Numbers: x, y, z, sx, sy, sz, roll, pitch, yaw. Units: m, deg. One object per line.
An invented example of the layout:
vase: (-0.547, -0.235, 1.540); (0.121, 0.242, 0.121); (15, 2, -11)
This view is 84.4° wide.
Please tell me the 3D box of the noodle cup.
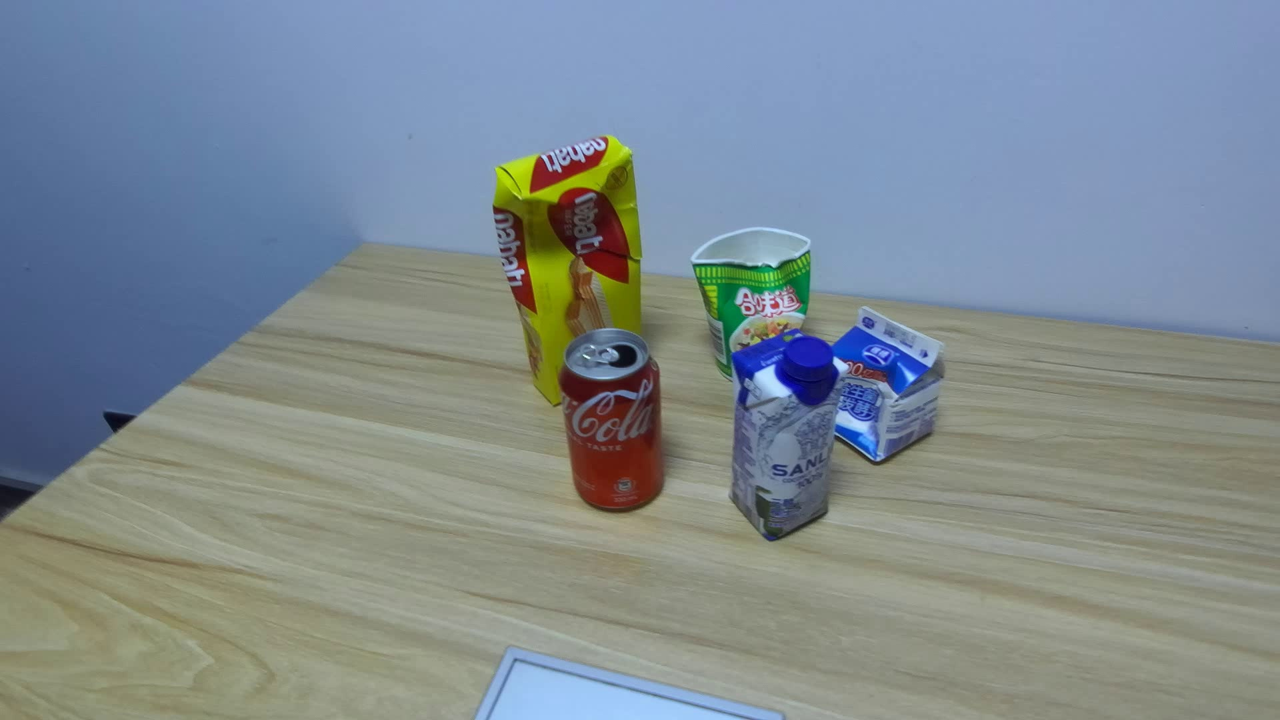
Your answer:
noodle cup: (0.099, -0.043, 0.594); (0.082, 0.122, 0.075); (4, 28, 25)

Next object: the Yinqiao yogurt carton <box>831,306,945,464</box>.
Yinqiao yogurt carton: (0.180, 0.013, 0.528); (0.071, 0.094, 0.077); (-21, 40, -31)

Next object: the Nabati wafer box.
Nabati wafer box: (-0.052, -0.064, 0.555); (0.107, 0.204, 0.042); (-22, 40, -25)

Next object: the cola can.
cola can: (-0.018, 0.041, 0.483); (0.068, 0.120, 0.067); (-3, 38, 2)

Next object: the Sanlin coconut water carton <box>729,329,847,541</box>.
Sanlin coconut water carton: (0.092, 0.044, 0.448); (0.061, 0.144, 0.060); (-22, 39, -22)
